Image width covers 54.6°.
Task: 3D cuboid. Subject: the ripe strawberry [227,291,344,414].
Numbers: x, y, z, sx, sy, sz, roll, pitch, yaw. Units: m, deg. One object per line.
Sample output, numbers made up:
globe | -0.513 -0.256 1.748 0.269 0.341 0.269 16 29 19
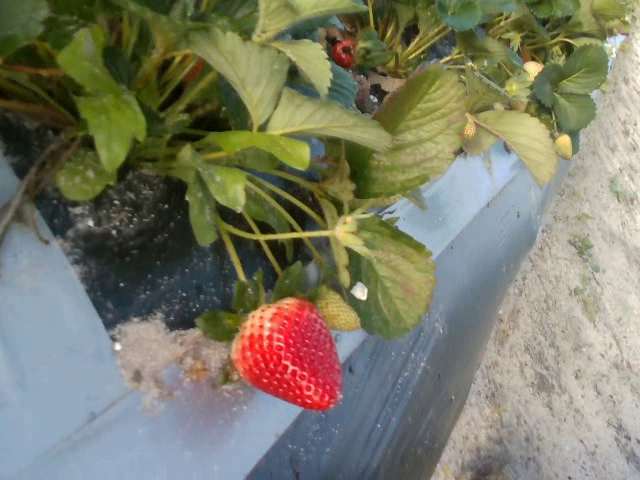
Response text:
ripe strawberry | -0.003 0.022 0.111 0.023 0.020 0.026 -17 52 -31
